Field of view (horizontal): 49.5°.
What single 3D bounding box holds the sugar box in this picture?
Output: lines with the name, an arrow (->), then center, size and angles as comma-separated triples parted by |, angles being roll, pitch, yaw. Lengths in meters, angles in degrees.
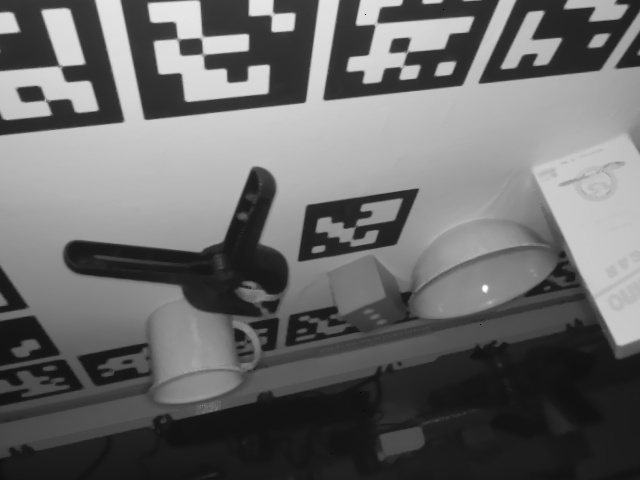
sugar box -> 0.274, -0.013, 0.583 | 0.092, 0.177, 0.045 | -21, 144, 9

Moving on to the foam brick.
foam brick -> 0.060, 0.053, 0.705 | 0.052, 0.051, 0.078 | -25, 145, 10

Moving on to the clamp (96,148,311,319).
clamp -> -0.064, 0.016, 0.590 | 0.165, 0.037, 0.203 | -23, 145, 6

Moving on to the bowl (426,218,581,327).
bowl -> 0.178, 0.026, 0.706 | 0.162, 0.055, 0.160 | -11, 146, -7

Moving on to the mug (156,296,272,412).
mug -> -0.101, 0.110, 0.674 | 0.119, 0.082, 0.092 | 11, 137, -31
